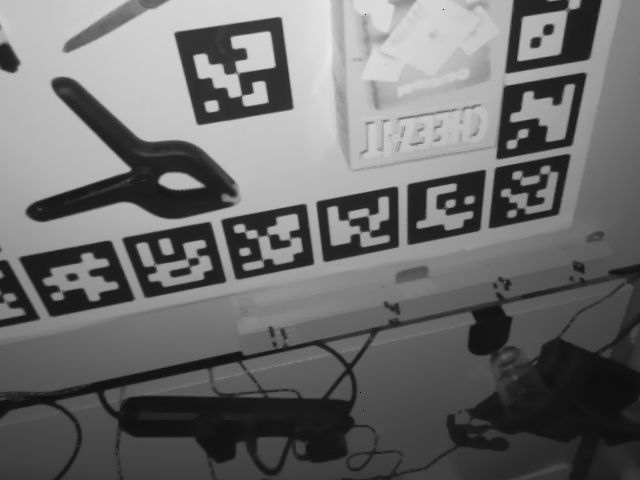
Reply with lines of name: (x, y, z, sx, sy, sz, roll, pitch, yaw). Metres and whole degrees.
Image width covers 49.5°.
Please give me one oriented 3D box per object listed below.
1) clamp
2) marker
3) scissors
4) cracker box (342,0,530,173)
clamp: (-0.166, -0.060, 0.730, 0.205, 0.037, 0.163, 14, 126, -25)
marker: (-0.270, -0.182, 0.588, 0.020, 0.020, 0.120, -14, 133, -3)
scissors: (-0.130, -0.205, 0.609, 0.201, 0.016, 0.088, -31, 132, 15)
cracker box: (0.109, -0.171, 0.672, 0.165, 0.072, 0.212, -10, 132, -7)
